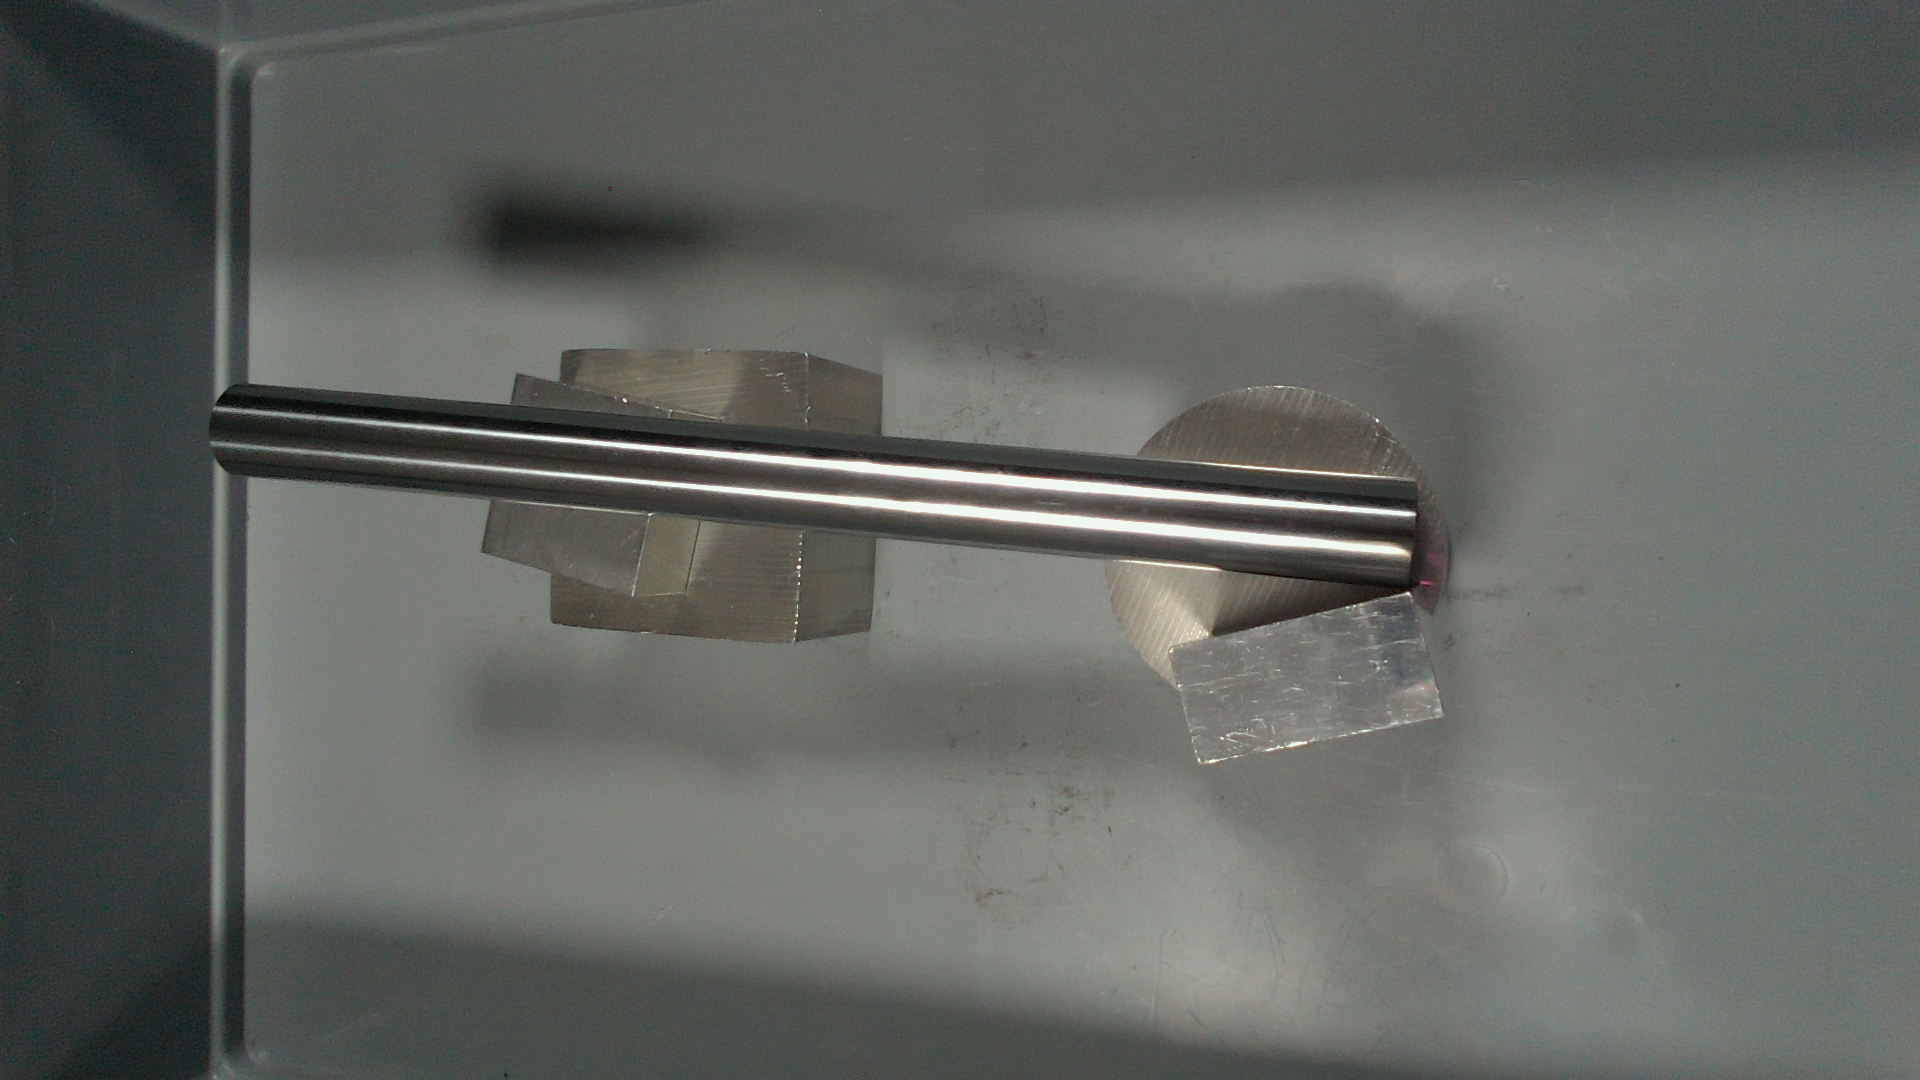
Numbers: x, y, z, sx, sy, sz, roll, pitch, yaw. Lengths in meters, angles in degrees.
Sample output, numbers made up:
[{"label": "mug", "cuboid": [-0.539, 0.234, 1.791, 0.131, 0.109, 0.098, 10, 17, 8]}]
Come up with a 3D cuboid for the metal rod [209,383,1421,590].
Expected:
[{"label": "metal rod", "cuboid": [-0.045, -0.015, 0.336, 0.299, 0.025, 0.025, 6, 92, 12]}]

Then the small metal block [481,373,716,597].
[{"label": "small metal block", "cuboid": [-0.098, -0.015, 0.377, 0.050, 0.025, 0.050, 14, 94, 19]}]

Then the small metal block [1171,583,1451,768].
[{"label": "small metal block", "cuboid": [0.078, 0.028, 0.299, 0.050, 0.050, 0.025, -16, 85, 19]}]

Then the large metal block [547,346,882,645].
[{"label": "large metal block", "cuboid": [-0.071, -0.014, 0.406, 0.080, 0.050, 0.080, 3, 91, 20]}]

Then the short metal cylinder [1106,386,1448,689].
[{"label": "short metal cylinder", "cuboid": [0.082, 0.003, 0.351, 0.080, 0.050, 0.080, 0, 90, 20]}]
